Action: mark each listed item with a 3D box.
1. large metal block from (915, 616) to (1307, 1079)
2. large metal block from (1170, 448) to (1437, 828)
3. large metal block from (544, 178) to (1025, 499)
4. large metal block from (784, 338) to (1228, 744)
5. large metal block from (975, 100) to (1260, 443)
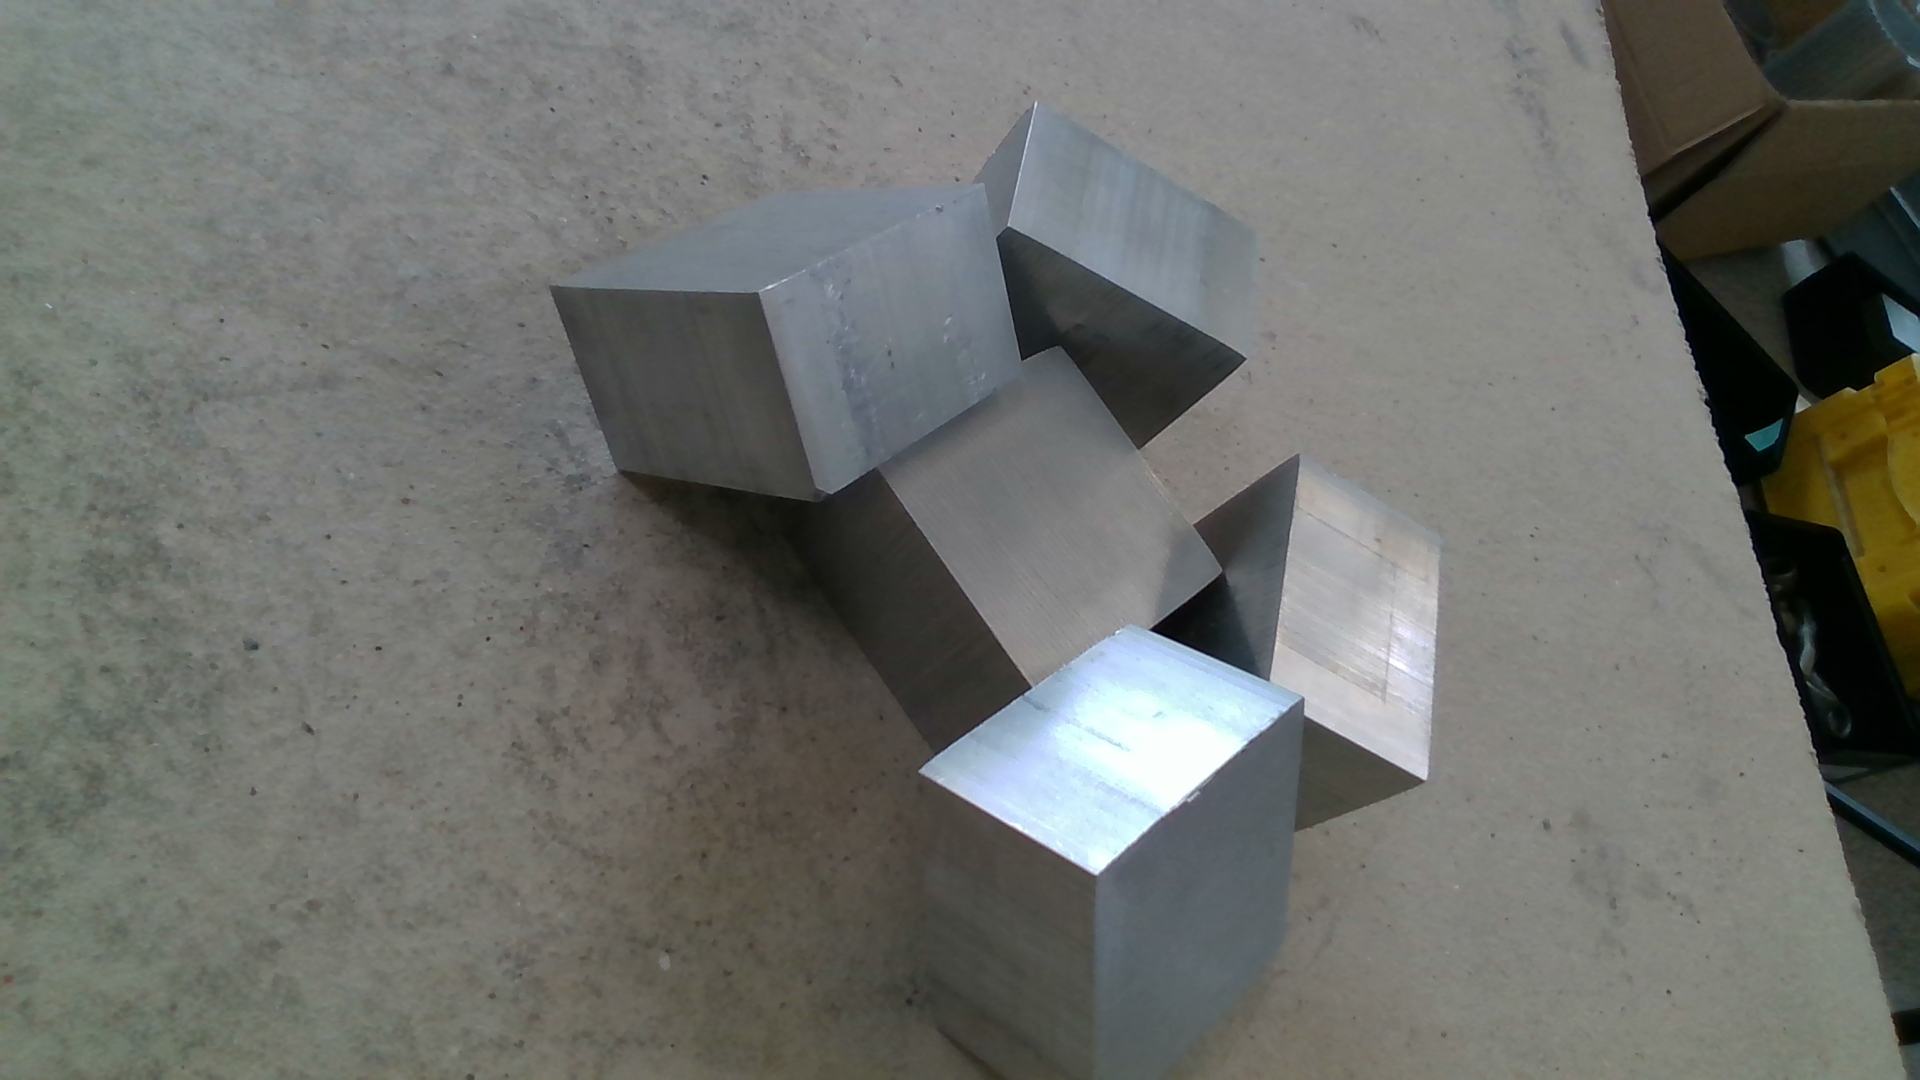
[{"bbox_3d":[0.037,0.077,0.331,0.050,0.080,0.080,23,38,37],"label":"large metal block"},{"bbox_3d":[0.086,0.034,0.393,0.050,0.080,0.080,28,54,-16],"label":"large metal block"},{"bbox_3d":[-0.043,-0.055,0.353,0.080,0.080,0.050,-36,124,-39],"label":"large metal block"},{"bbox_3d":[0.013,0.002,0.381,0.080,0.050,0.080,-32,84,-38],"label":"large metal block"},{"bbox_3d":[0.032,-0.071,0.416,0.080,0.080,0.050,24,55,-18],"label":"large metal block"}]
